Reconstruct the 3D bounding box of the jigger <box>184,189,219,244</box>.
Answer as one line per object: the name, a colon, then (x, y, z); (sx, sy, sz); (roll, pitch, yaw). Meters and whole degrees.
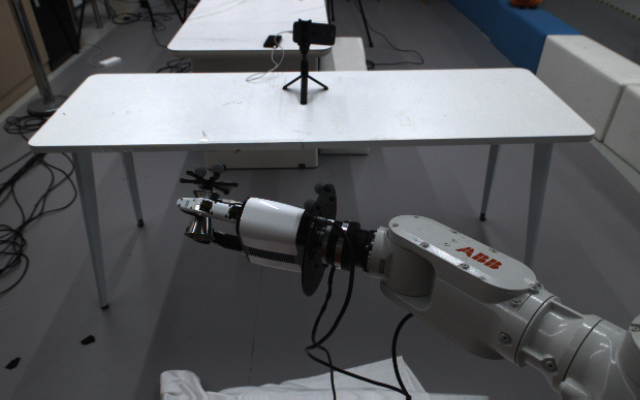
jigger: (-0.174, 0.022, 0.716); (0.043, 0.043, 0.071); (4, 72, 3)
